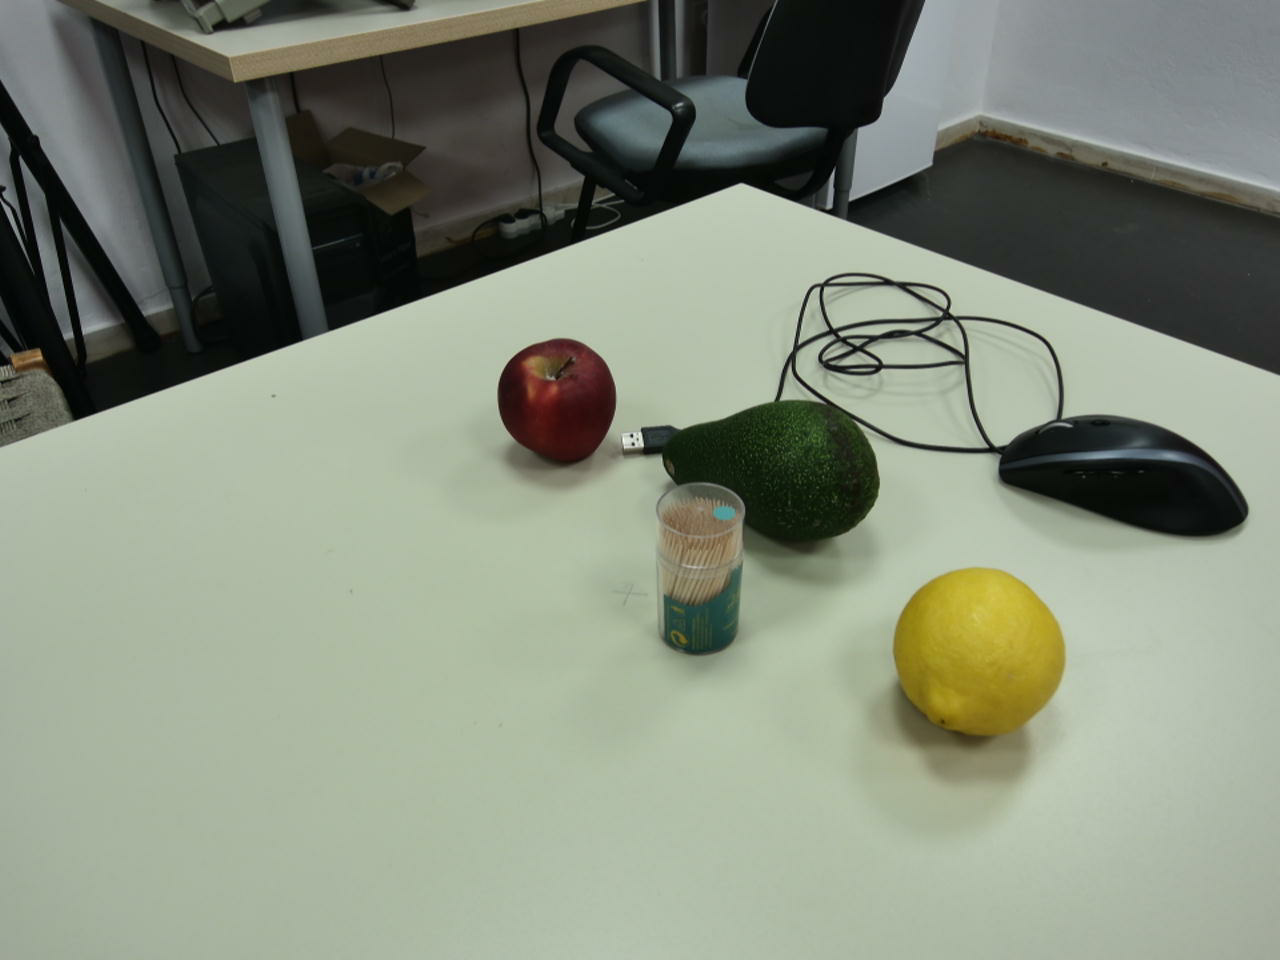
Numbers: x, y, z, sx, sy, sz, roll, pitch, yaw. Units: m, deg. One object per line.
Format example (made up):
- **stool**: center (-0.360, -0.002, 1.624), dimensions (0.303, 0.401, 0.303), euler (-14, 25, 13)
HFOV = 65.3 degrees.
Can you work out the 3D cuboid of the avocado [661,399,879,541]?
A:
- **avocado**: center (0.073, -0.012, 0.530), dimensions (0.074, 0.076, 0.123), euler (-21, 41, -26)
